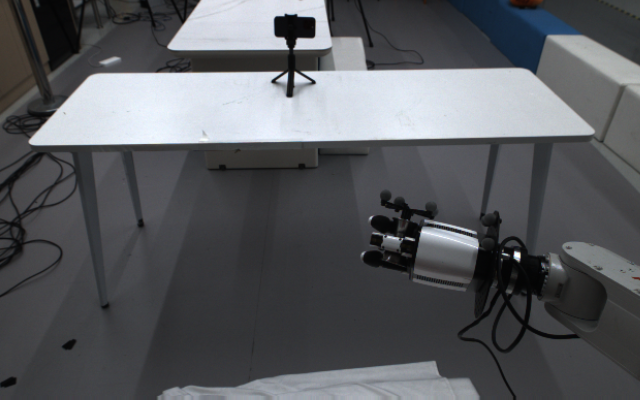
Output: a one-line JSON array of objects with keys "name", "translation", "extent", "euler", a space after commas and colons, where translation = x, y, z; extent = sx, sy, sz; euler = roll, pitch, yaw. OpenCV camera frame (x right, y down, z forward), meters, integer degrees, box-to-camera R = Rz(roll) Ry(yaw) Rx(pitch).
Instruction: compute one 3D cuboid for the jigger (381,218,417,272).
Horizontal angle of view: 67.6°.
[{"name": "jigger", "translation": [0.123, 0.063, 0.738], "extent": [0.043, 0.071, 0.043], "euler": [16, -7, 2]}]
